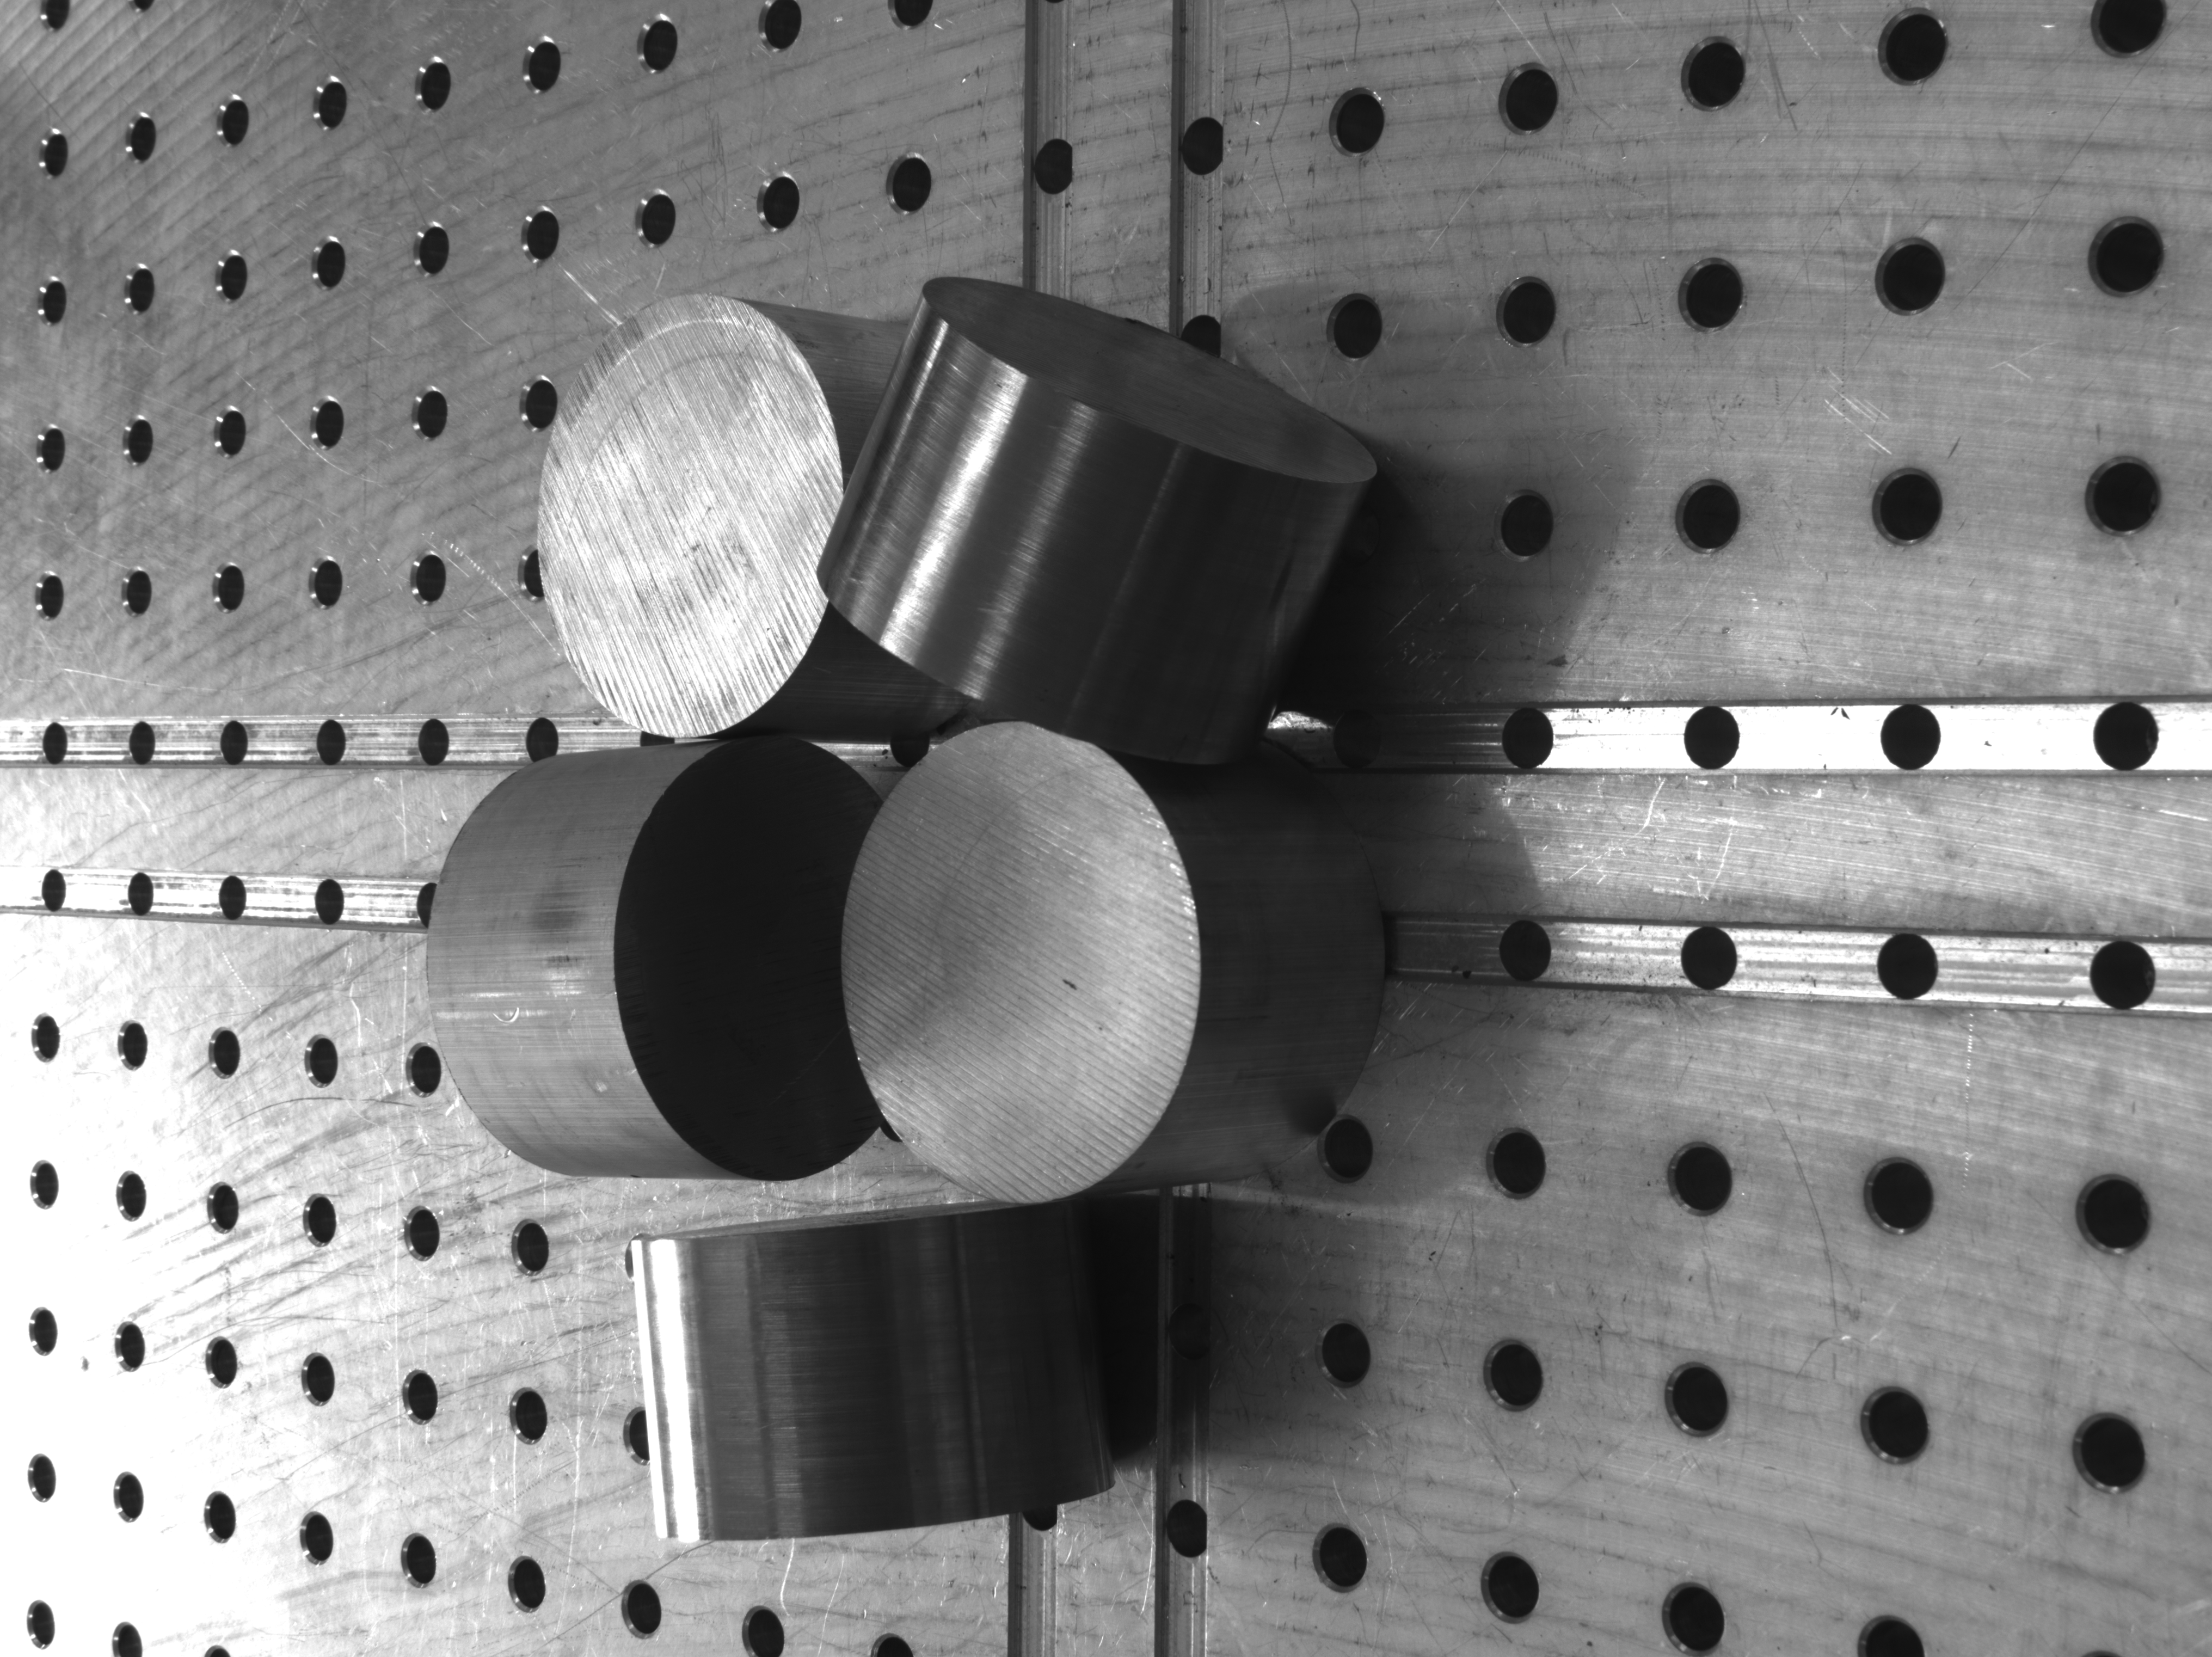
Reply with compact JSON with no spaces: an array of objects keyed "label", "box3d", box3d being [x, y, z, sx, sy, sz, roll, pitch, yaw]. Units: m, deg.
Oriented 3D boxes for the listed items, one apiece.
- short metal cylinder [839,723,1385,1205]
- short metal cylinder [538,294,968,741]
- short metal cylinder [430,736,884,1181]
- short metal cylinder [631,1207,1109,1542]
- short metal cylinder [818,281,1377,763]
[{"label":"short metal cylinder","box3d":[0.001,0.022,0.631,0.080,0.050,0.080,0,91,40]},{"label":"short metal cylinder","box3d":[-0.060,-0.056,0.682,0.080,0.050,0.080,0,90,41]},{"label":"short metal cylinder","box3d":[-0.077,0.024,0.678,0.050,0.080,0.080,-3,88,40]},{"label":"short metal cylinder","box3d":[-0.041,0.094,0.646,0.080,0.080,0.050,-8,85,40]},{"label":"short metal cylinder","box3d":[-0.002,-0.052,0.614,0.080,0.080,0.050,35,111,35]}]
